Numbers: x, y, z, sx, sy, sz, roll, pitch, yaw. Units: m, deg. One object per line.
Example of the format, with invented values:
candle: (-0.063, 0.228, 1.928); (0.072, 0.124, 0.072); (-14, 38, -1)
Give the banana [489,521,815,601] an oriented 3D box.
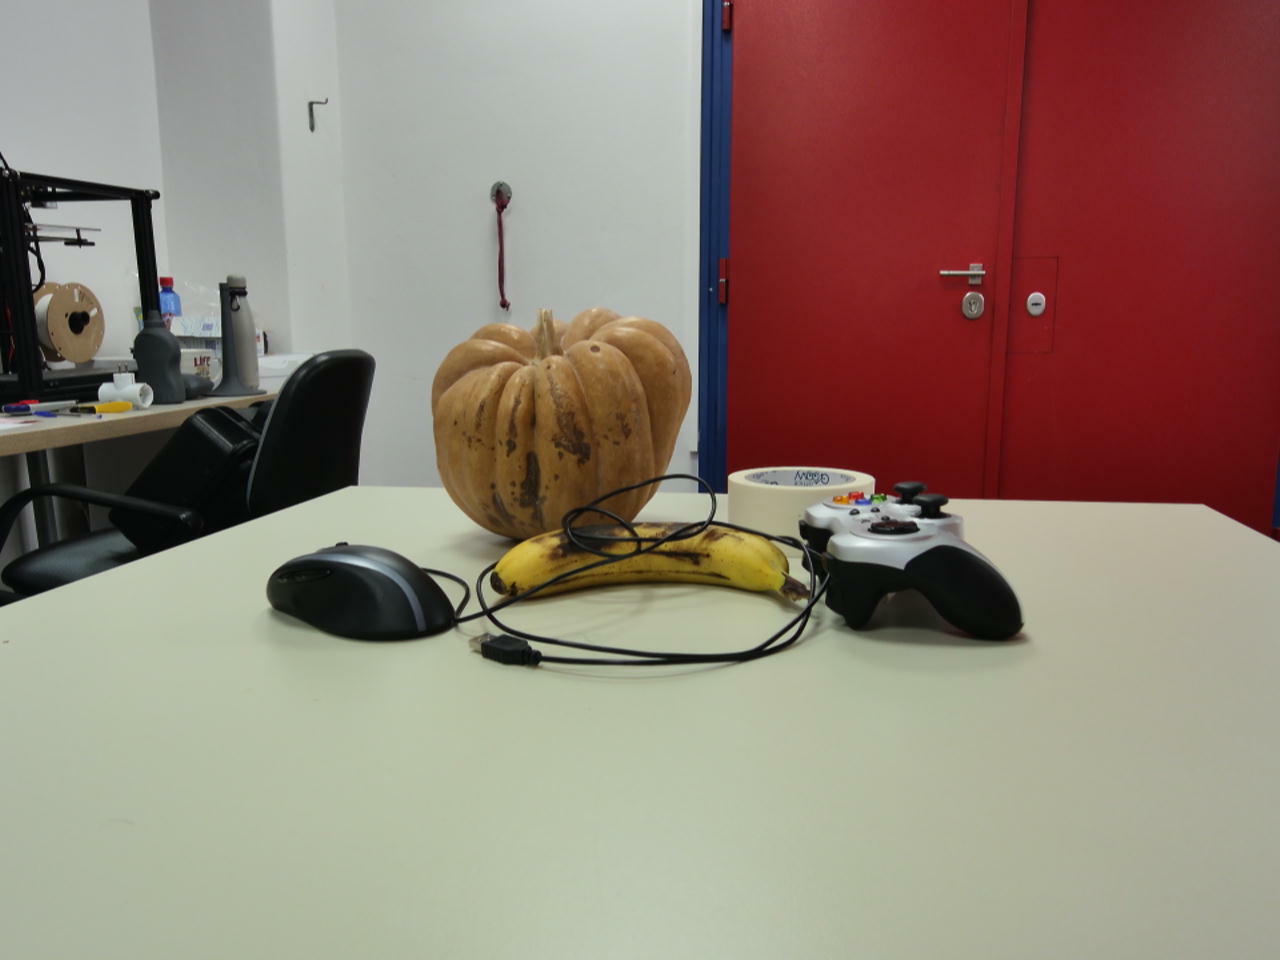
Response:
banana: (0.010, 0.050, 0.608); (0.187, 0.039, 0.094); (1, 7, 9)
